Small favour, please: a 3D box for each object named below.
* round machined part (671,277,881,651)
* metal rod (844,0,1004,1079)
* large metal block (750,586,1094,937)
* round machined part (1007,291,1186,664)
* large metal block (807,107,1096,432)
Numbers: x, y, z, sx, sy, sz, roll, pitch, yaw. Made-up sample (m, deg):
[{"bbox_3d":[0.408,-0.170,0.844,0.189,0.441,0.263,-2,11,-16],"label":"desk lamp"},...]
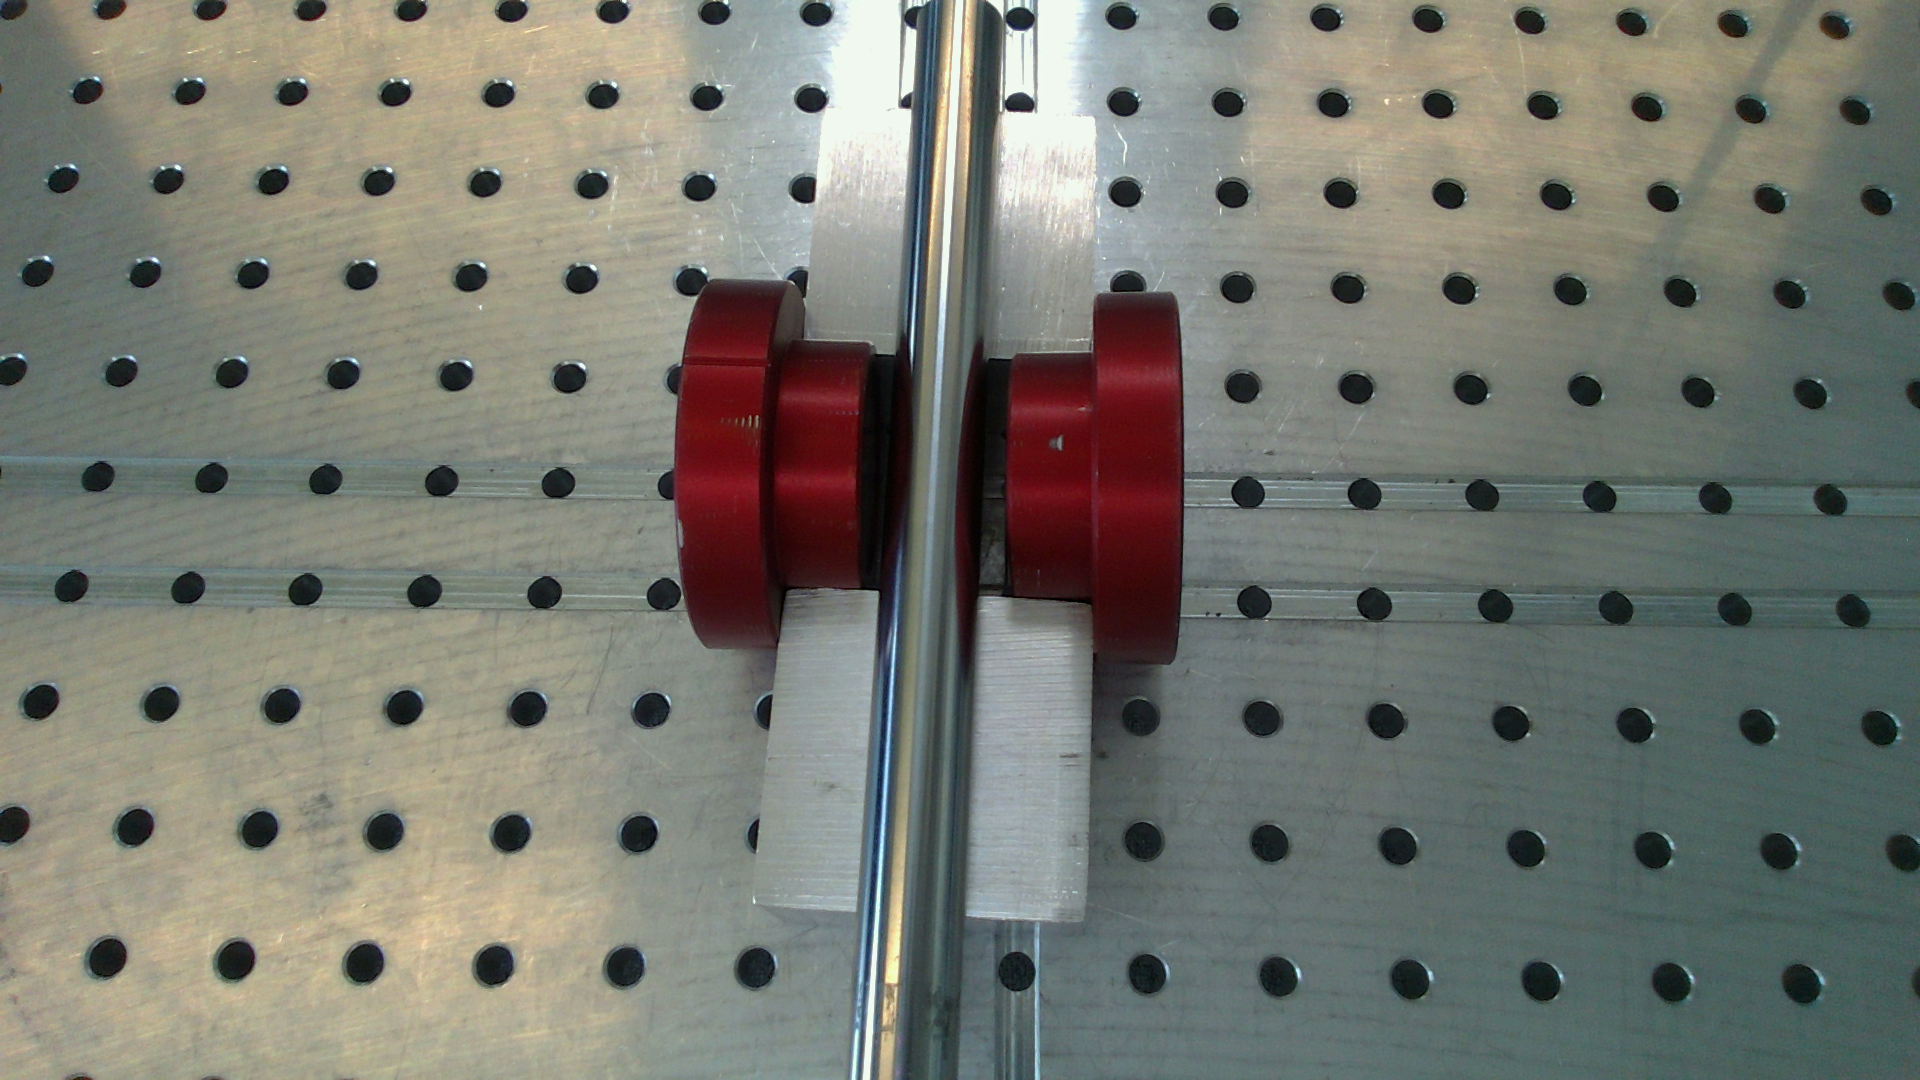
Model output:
[{"bbox_3d":[-0.045,-0.019,0.364,0.042,0.098,0.098,2,70,1],"label":"round machined part"},{"bbox_3d":[-0.007,-0.008,0.346,0.025,0.025,0.300,2,70,1],"label":"metal rod"},{"bbox_3d":[-0.007,0.060,0.361,0.080,0.050,0.080,3,70,1],"label":"large metal block"},{"bbox_3d":[0.035,-0.016,0.364,0.042,0.098,0.098,0,70,5],"label":"round machined part"},{"bbox_3d":[-0.002,-0.079,0.412,0.080,0.050,0.080,2,70,1],"label":"large metal block"}]
